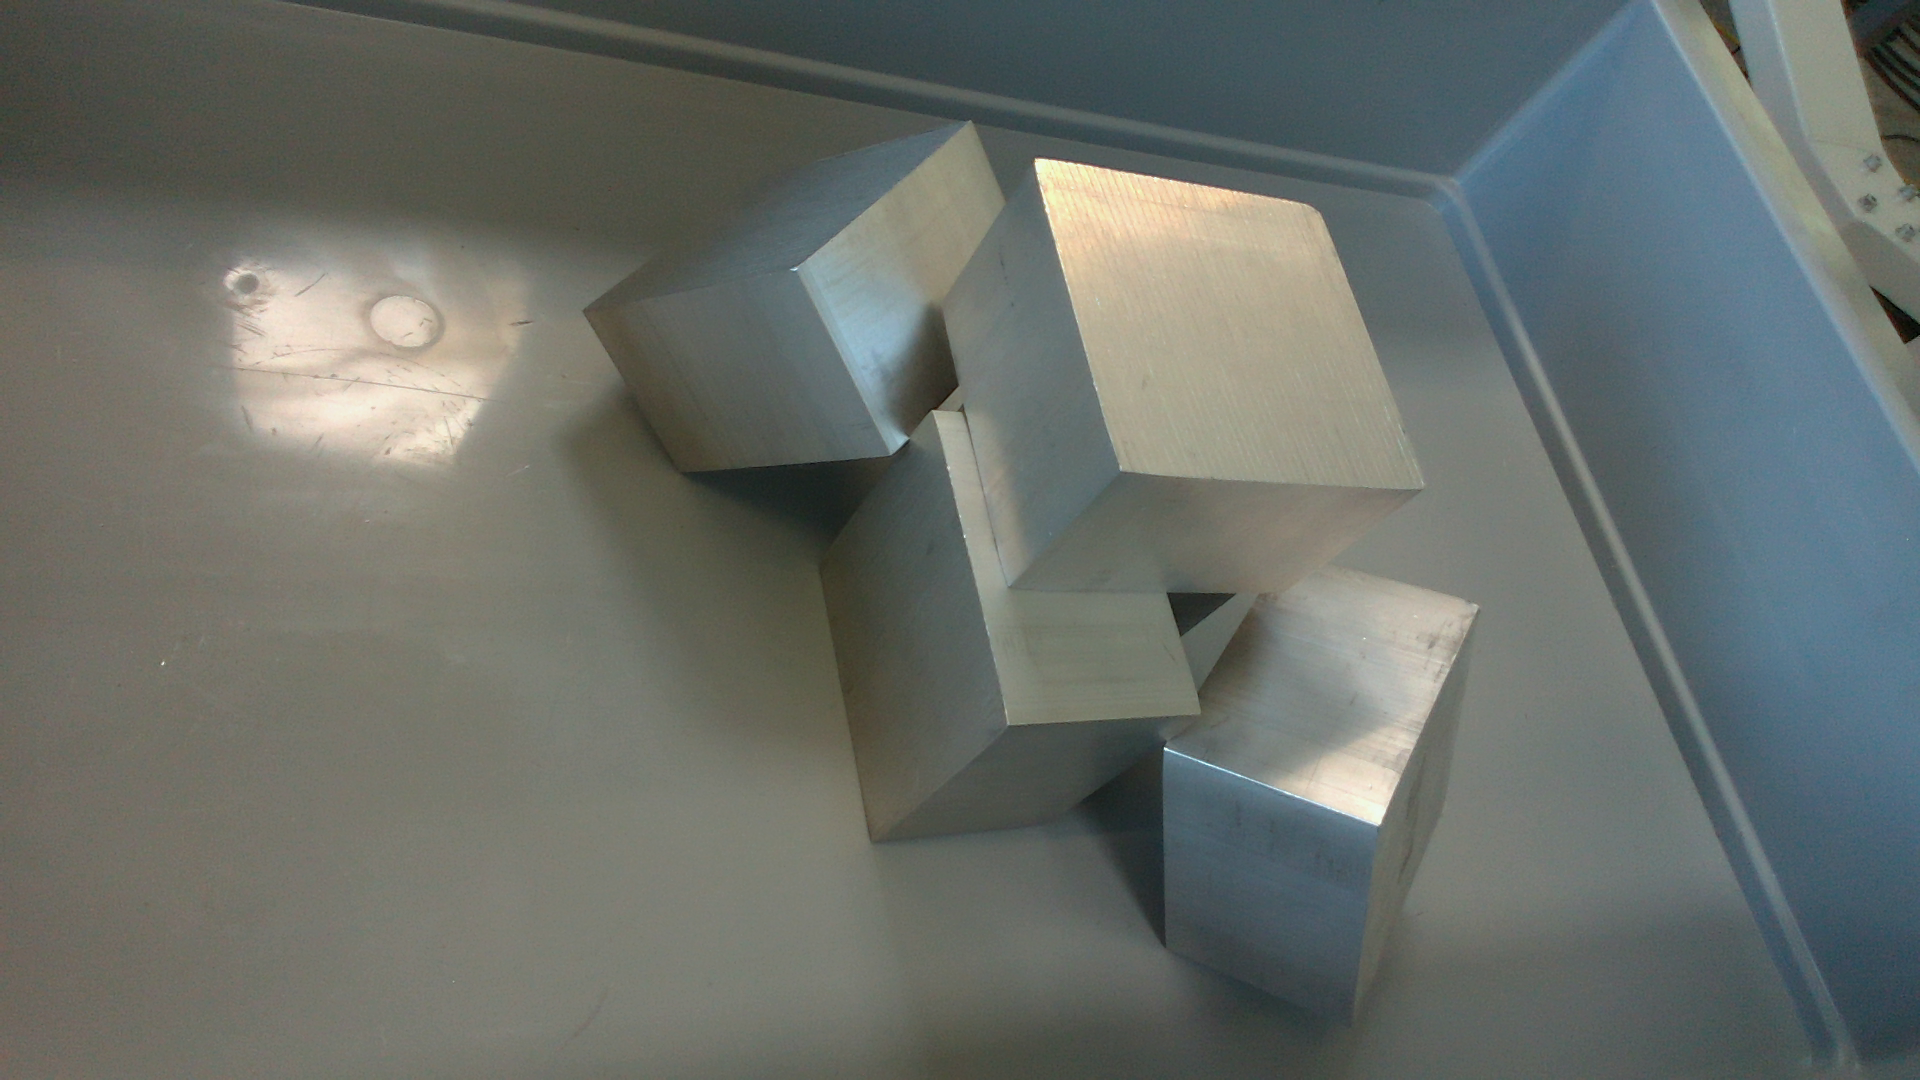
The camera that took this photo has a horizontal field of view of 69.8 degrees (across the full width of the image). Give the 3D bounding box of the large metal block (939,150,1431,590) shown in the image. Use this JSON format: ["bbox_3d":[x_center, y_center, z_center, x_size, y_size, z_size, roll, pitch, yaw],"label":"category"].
[{"bbox_3d":[0.049,-0.036,0.317,0.080,0.050,0.080,2,61,-27],"label":"large metal block"}]

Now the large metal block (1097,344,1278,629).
[{"bbox_3d":[0.044,-0.020,0.387,0.050,0.080,0.080,1,61,-28],"label":"large metal block"}]

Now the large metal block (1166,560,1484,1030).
[{"bbox_3d":[0.093,0.062,0.355,0.050,0.080,0.080,17,45,27],"label":"large metal block"}]

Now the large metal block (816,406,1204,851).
[{"bbox_3d":[0.007,0.024,0.343,0.050,0.080,0.080,1,61,-28],"label":"large metal block"}]

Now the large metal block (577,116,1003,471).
[{"bbox_3d":[-0.037,-0.064,0.362,0.080,0.080,0.050,-50,126,-39],"label":"large metal block"}]
